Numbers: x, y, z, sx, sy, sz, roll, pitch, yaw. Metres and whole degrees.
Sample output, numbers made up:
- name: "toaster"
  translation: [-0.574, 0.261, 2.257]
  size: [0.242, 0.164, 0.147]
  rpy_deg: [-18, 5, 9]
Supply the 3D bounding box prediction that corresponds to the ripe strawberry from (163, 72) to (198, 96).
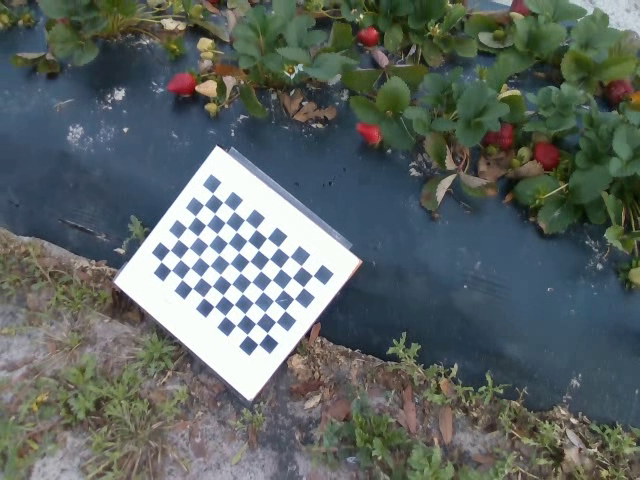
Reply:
- name: "ripe strawberry"
  translation: [-0.232, -0.258, 1.005]
  size: [0.050, 0.034, 0.059]
  rpy_deg: [27, 43, 12]
